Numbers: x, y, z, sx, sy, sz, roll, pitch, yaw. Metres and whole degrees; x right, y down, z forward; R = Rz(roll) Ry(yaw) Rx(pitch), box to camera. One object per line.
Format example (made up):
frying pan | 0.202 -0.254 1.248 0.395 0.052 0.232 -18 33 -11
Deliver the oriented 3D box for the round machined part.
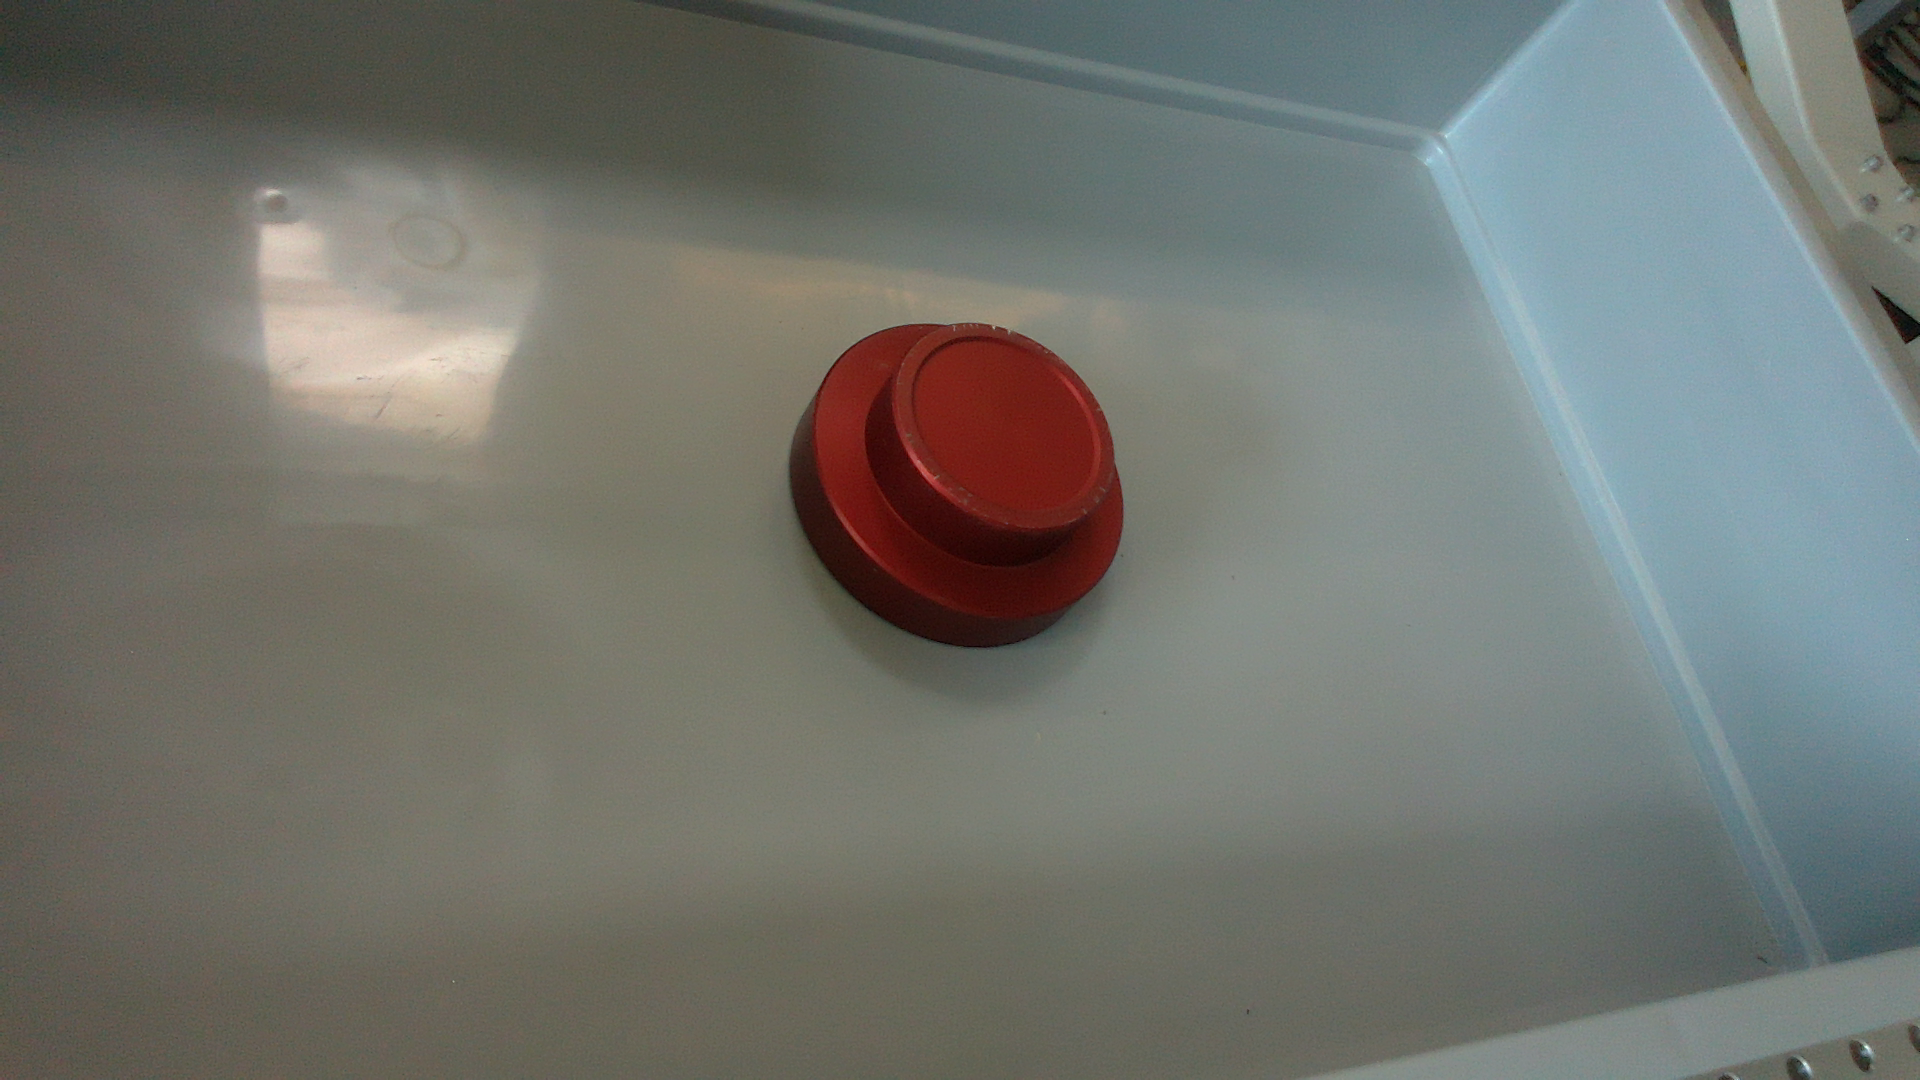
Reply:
round machined part | 0.004 -0.022 0.391 0.098 0.042 0.098 14 56 -21
